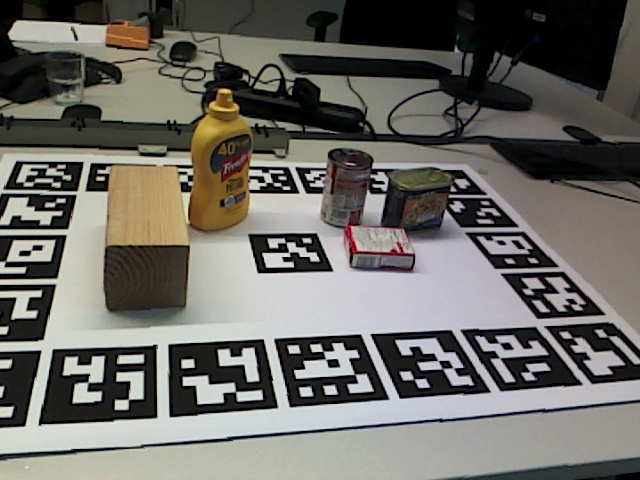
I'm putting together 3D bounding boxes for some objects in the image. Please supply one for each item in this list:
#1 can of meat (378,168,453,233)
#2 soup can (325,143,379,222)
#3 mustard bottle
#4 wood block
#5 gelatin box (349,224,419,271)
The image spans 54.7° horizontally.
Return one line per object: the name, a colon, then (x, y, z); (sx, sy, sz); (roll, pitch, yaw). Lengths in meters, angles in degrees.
can of meat: (0.144, -0.059, 0.949); (0.101, 0.083, 0.058); (-7, 34, -28)
soup can: (0.047, -0.086, 0.934); (0.068, 0.102, 0.068); (6, 32, -4)
mustard bottle: (-0.135, -0.107, 0.864); (0.095, 0.191, 0.059); (-16, 38, -37)
wood block: (-0.212, -0.012, 0.776); (0.090, 0.090, 0.207); (1, 27, -15)
gelatin box: (0.088, 0.010, 0.863); (0.089, 0.030, 0.073); (3, 33, -4)
